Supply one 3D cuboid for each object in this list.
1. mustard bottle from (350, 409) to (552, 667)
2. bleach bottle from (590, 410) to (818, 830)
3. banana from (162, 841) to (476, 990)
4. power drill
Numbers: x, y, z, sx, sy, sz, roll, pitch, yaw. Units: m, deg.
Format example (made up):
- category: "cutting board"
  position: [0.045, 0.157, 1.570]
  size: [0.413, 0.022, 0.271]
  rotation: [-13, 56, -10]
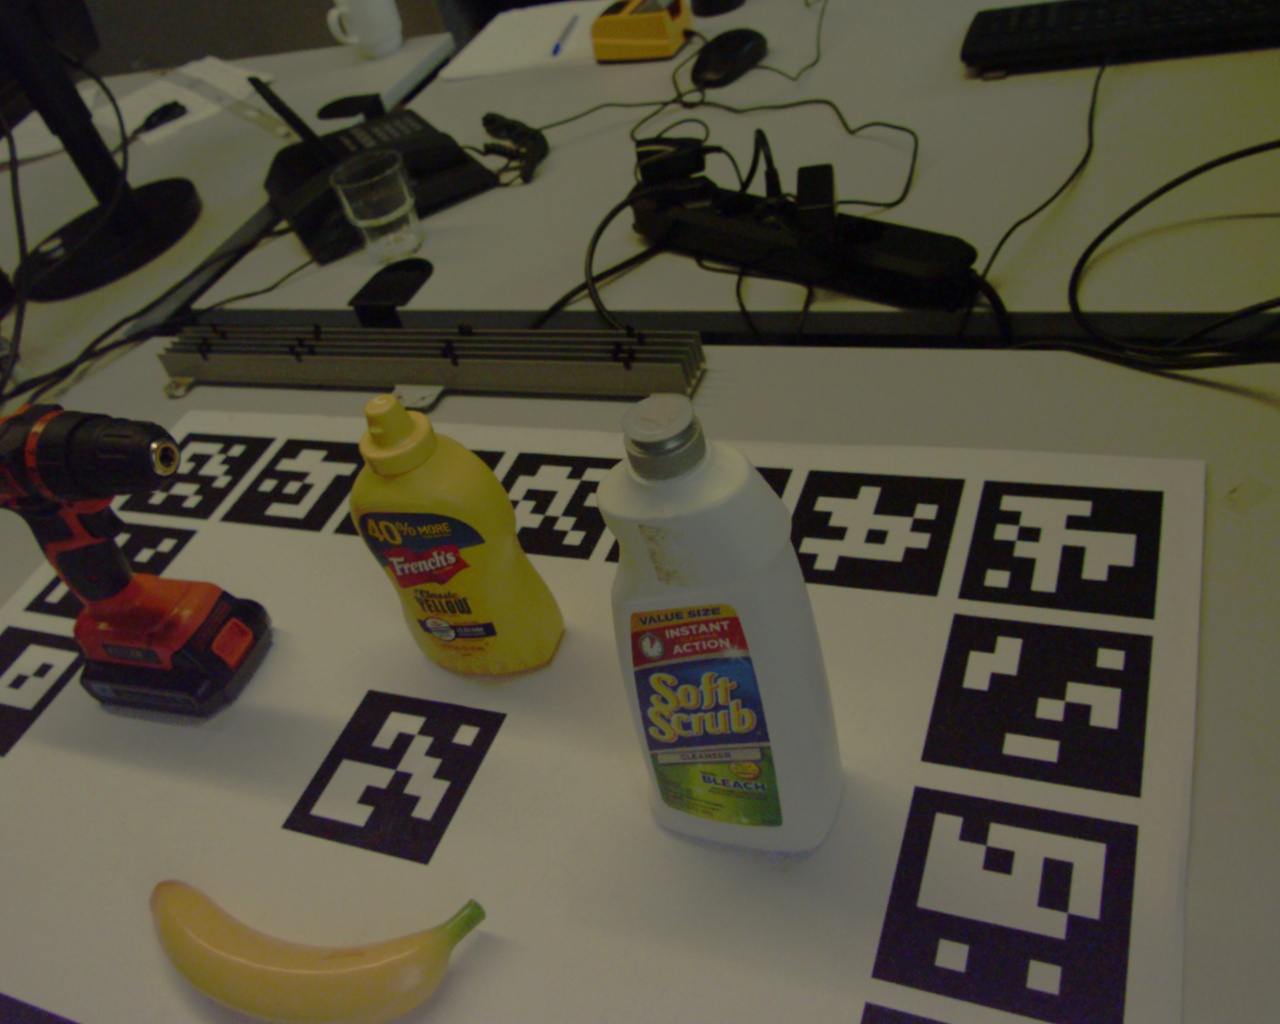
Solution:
- category: "mustard bottle"
  position: [-0.122, 0.016, 0.693]
  size: [0.097, 0.190, 0.058]
  rotation: [1, 45, 18]
- category: "bleach bottle"
  position: [0.023, 0.054, 0.551]
  size: [0.104, 0.249, 0.067]
  rotation: [13, 50, 30]
- category: "banana"
  position: [-0.184, 0.211, 0.605]
  size: [0.199, 0.038, 0.074]
  rotation: [-1, 46, 24]
- category: "power drill"
  position: [-0.318, 0.010, 0.725]
  size: [0.186, 0.185, 0.057]
  rotation: [-2, 44, 24]
